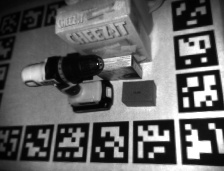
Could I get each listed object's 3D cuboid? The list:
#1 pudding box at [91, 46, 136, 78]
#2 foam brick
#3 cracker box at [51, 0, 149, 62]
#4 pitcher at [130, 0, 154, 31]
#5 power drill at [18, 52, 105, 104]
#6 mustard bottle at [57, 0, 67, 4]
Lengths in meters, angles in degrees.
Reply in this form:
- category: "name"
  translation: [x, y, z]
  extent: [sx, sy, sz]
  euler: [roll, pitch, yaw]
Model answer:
- category: "pudding box"
  translation: [-0.005, -0.057, 0.559]
  extent: [0.113, 0.091, 0.038]
  euler: [-7, 69, 22]
- category: "foam brick"
  translation: [0.060, 0.007, 0.550]
  extent: [0.077, 0.052, 0.052]
  euler: [-4, 73, 20]
- category: "cracker box"
  translation: [-0.017, -0.121, 0.524]
  extent: [0.163, 0.216, 0.072]
  euler: [-10, 67, 21]
- category: "pitcher"
  translation: [0.026, -0.224, 0.536]
  extent: [0.187, 0.245, 0.133]
  euler: [-1, 72, 23]
- category: "power drill"
  translation: [-0.088, -0.013, 0.498]
  extent: [0.183, 0.189, 0.057]
  euler: [-8, 67, 18]
- category: "mustard bottle"
  translation: [-0.094, -0.205, 0.588]
  extent: [0.095, 0.194, 0.058]
  euler: [7, 76, 24]
